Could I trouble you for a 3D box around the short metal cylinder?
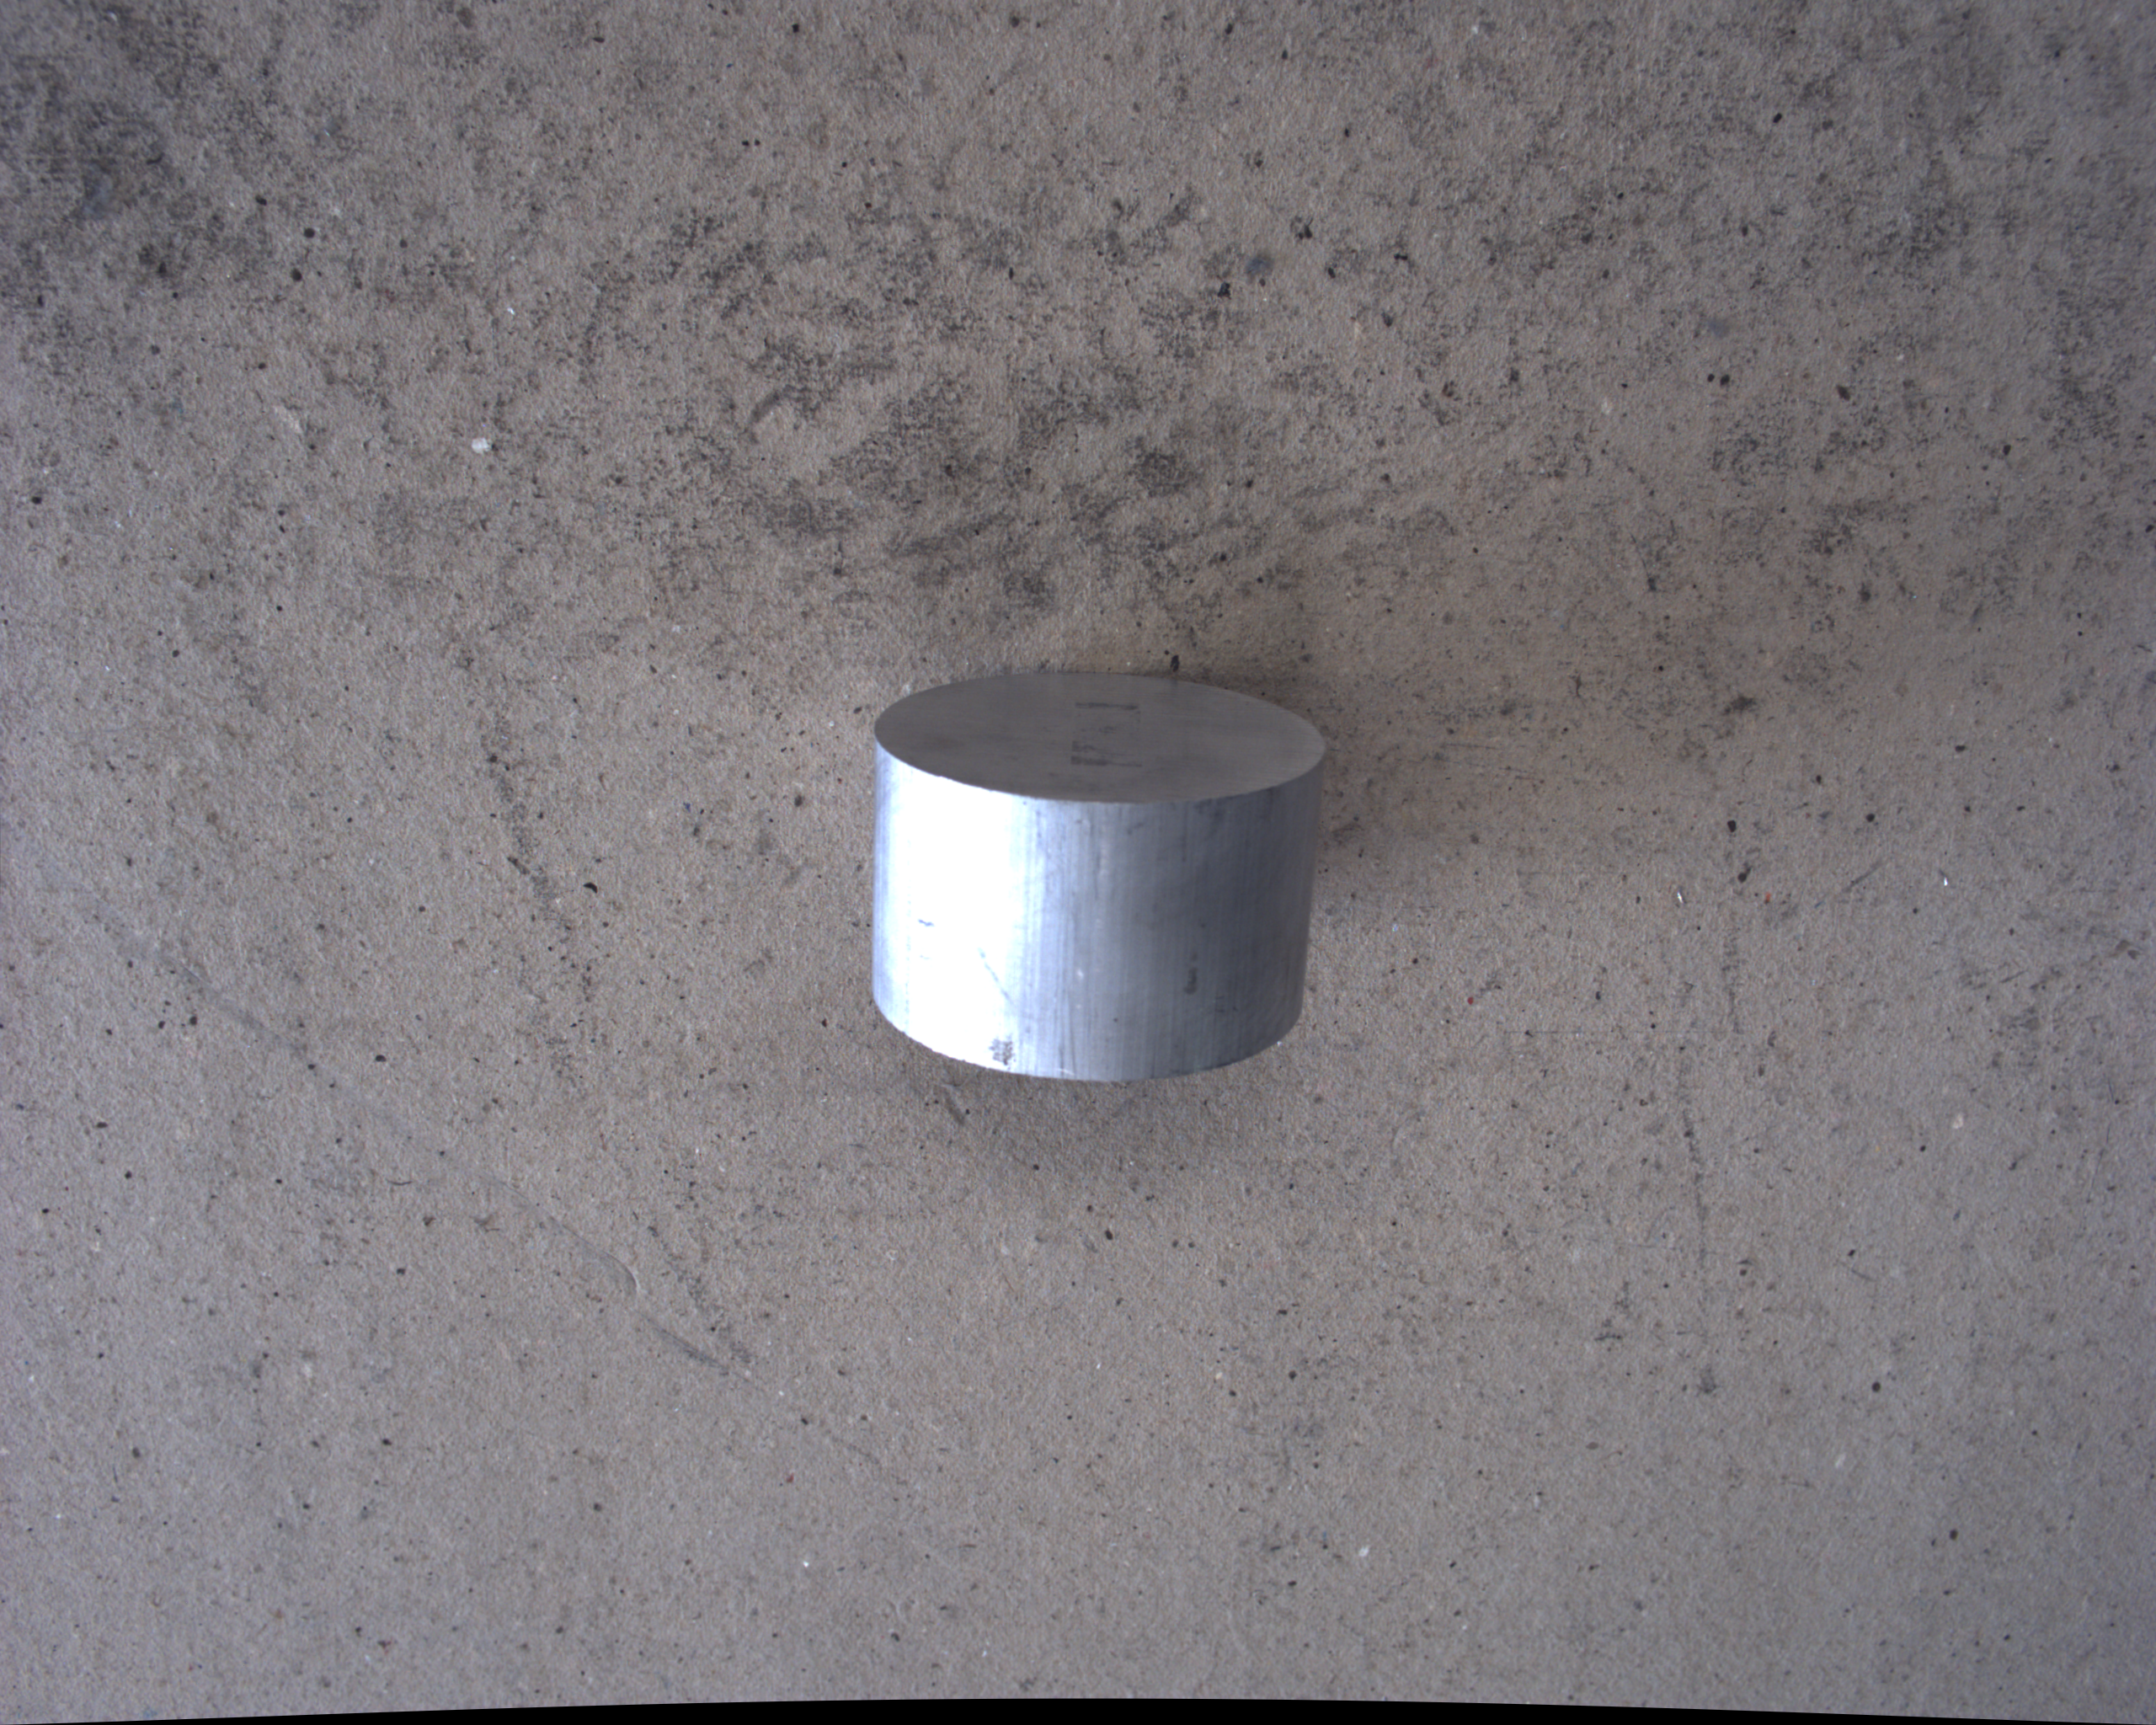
[{"bbox_3d":[0.003,0.000,0.382,0.080,0.080,0.050,2,110,-1],"label":"short metal cylinder"}]
